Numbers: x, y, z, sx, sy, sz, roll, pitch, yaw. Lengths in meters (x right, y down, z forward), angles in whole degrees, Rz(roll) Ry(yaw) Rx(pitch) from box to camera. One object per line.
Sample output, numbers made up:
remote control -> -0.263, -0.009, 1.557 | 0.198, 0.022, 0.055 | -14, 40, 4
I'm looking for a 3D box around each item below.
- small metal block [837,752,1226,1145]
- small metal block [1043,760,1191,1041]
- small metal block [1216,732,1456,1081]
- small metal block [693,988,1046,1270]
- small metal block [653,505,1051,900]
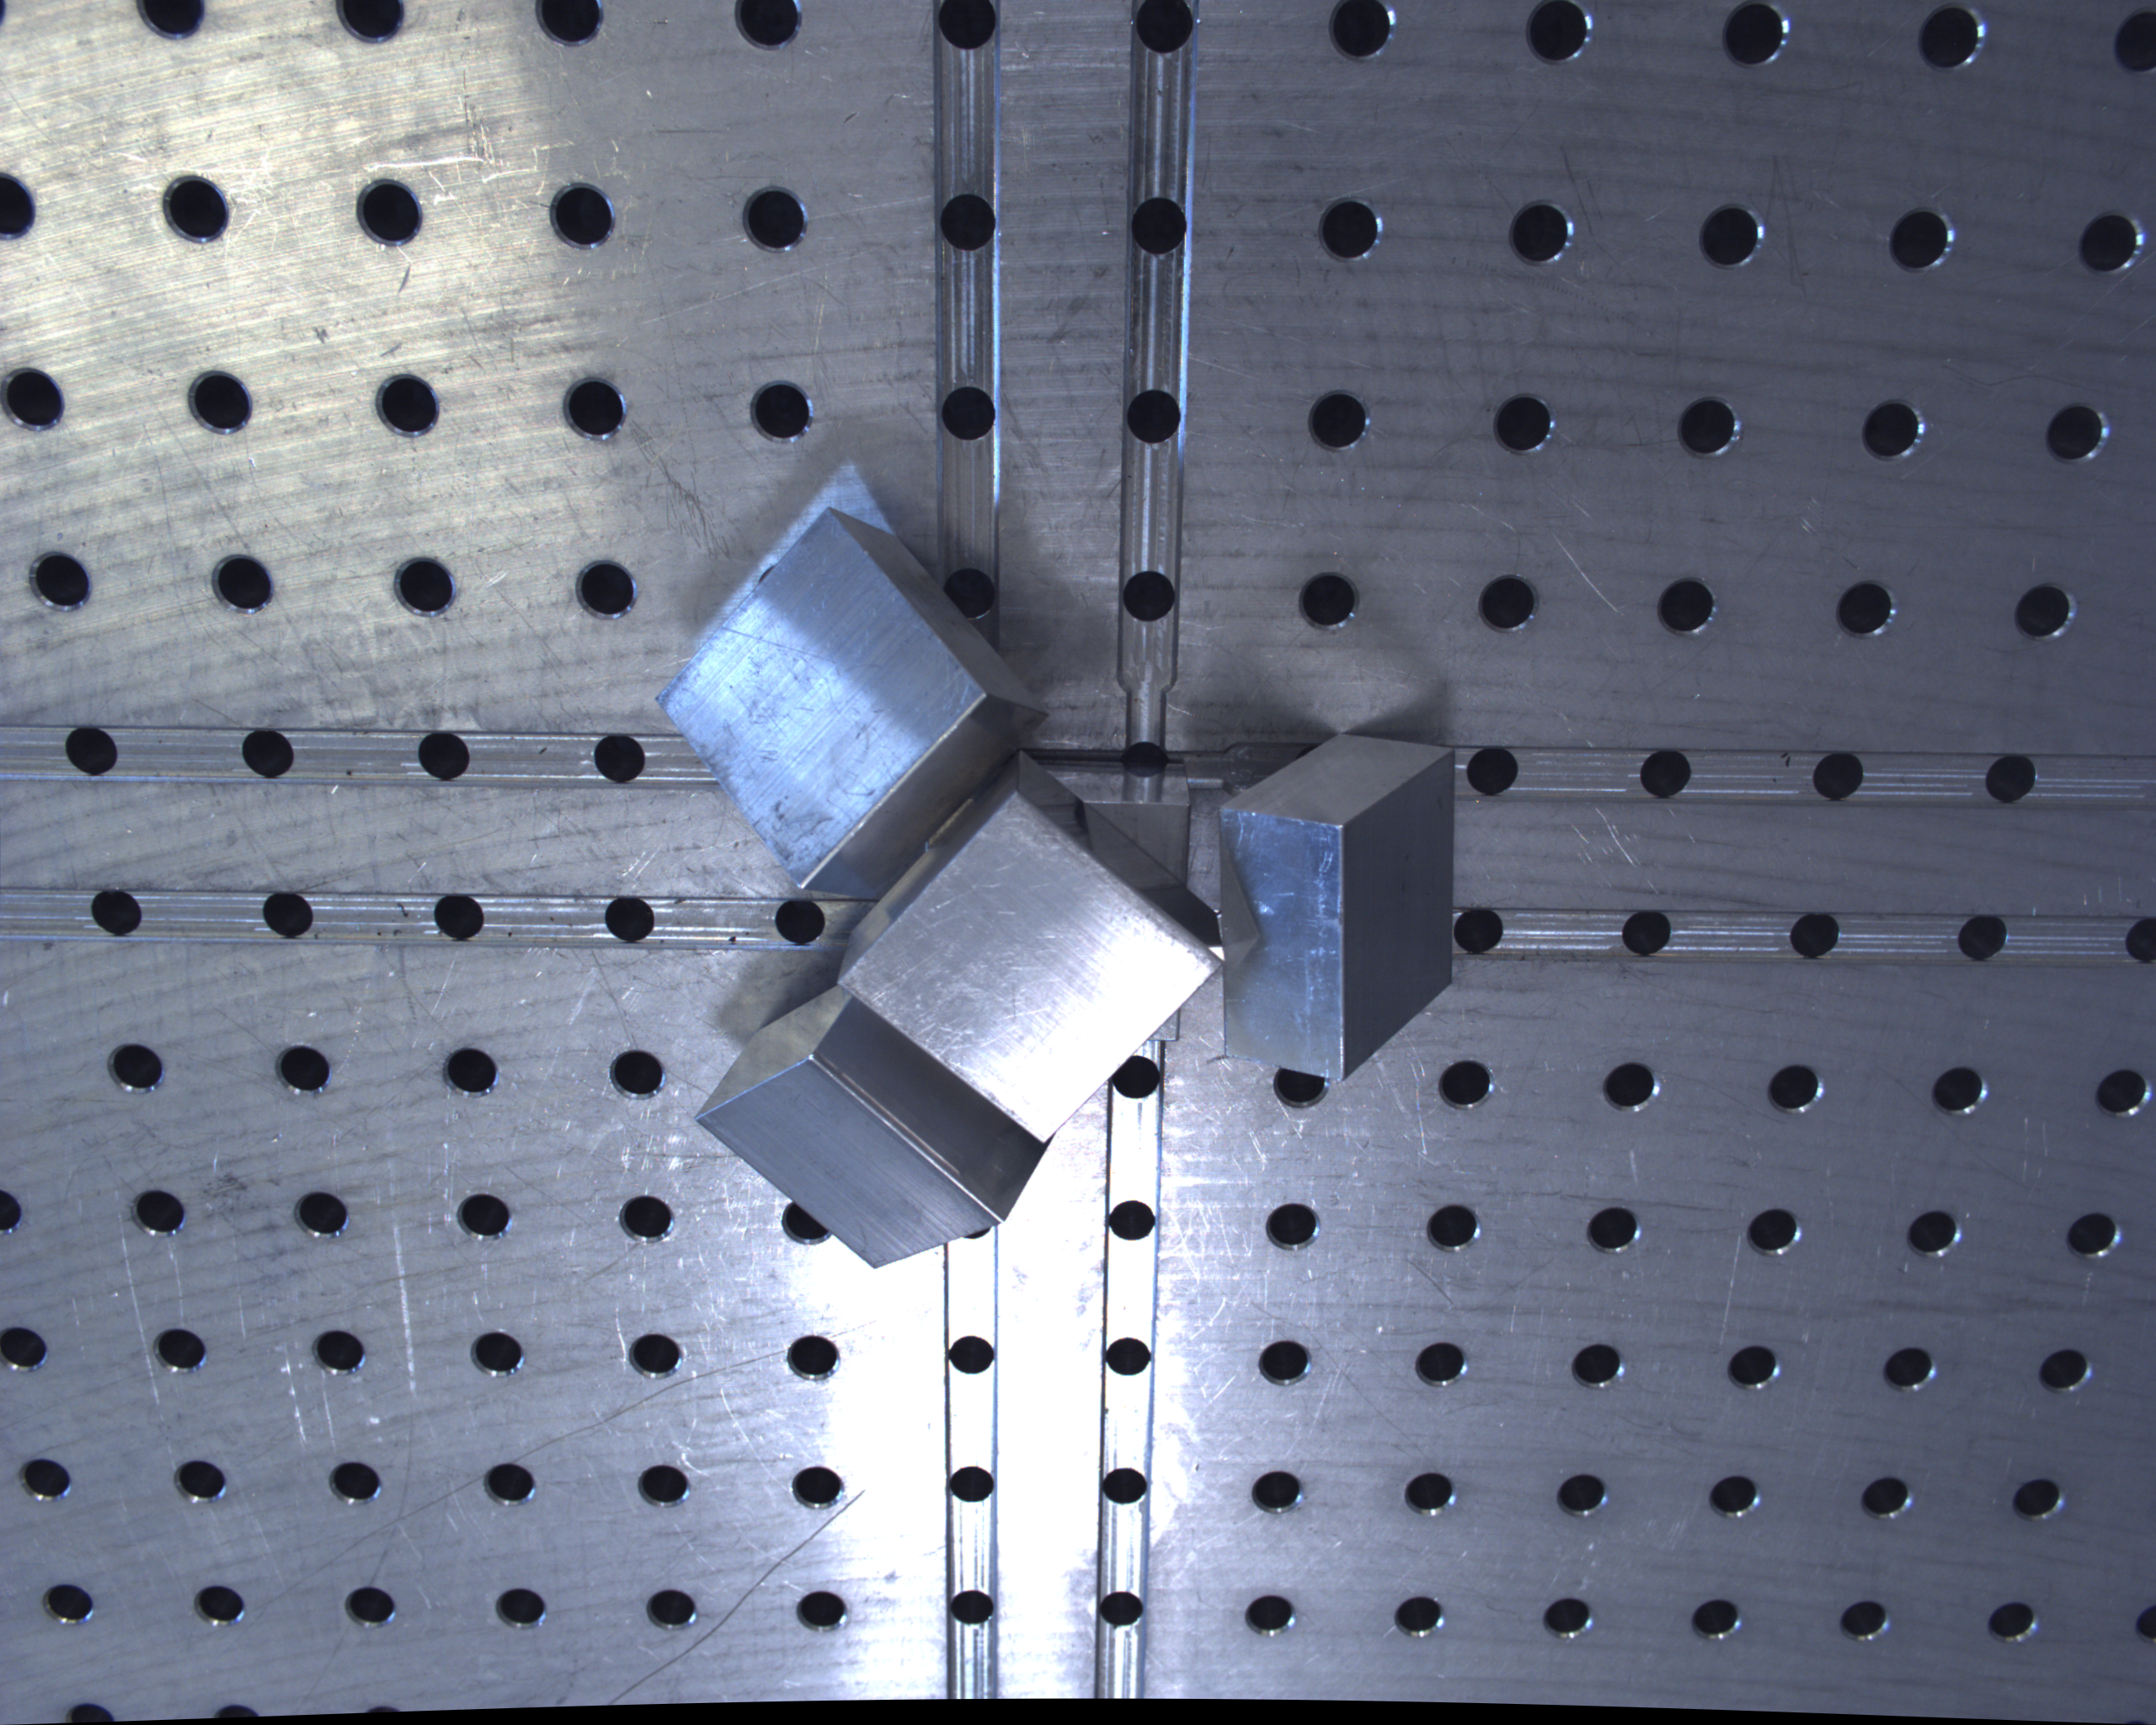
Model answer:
small metal block -> -0.009, 0.016, 0.392 | 0.050, 0.025, 0.050 | 39, 105, -14
small metal block -> -0.004, 0.007, 0.416 | 0.050, 0.025, 0.050 | 1, 113, -1
small metal block -> 0.050, 0.007, 0.400 | 0.025, 0.050, 0.050 | 10, 114, 31
small metal block -> -0.041, 0.052, 0.419 | 0.050, 0.025, 0.050 | 43, 142, -14
small metal block -> -0.042, -0.029, 0.389 | 0.050, 0.025, 0.050 | -45, 69, 14
